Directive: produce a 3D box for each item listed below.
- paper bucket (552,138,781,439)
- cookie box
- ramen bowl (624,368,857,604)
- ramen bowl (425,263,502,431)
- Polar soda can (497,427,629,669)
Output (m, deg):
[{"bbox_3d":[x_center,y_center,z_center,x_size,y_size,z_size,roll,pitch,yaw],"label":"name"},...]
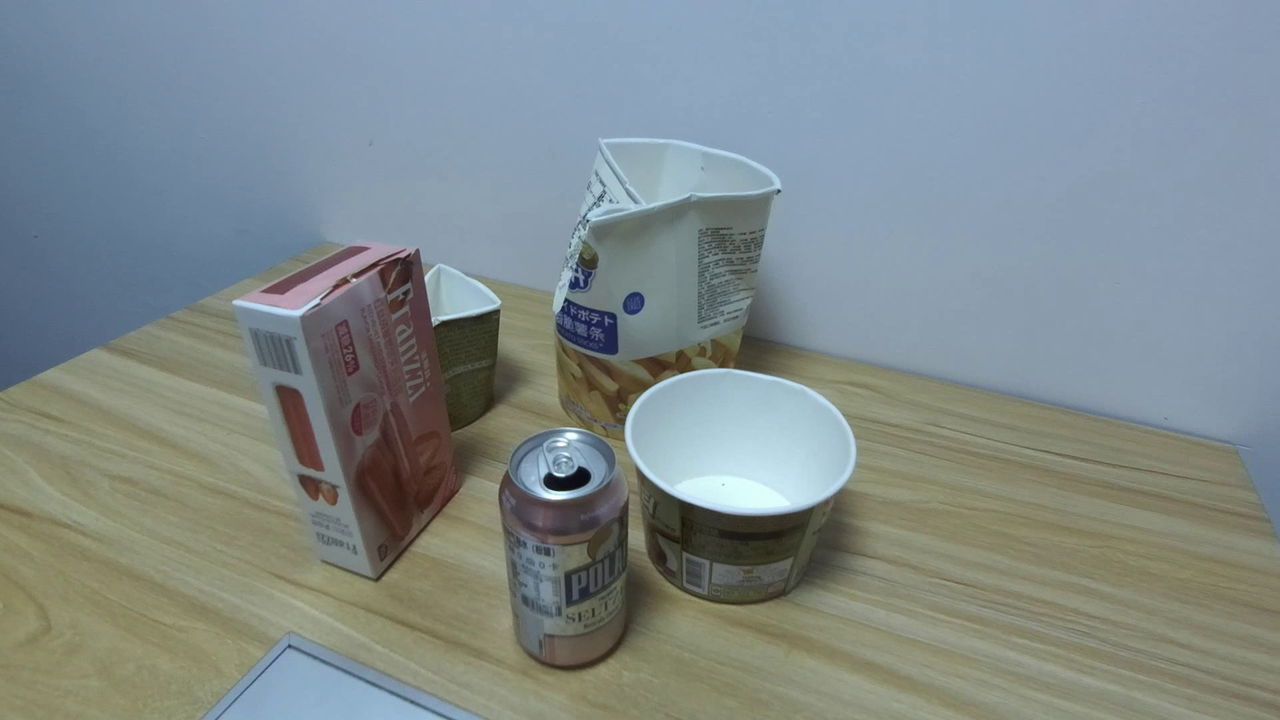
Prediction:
[{"bbox_3d":[0.001,-0.061,0.574,0.170,0.202,0.162,-13,34,-25],"label":"paper bucket"},{"bbox_3d":[-0.165,0.028,0.435,0.048,0.188,0.105,10,32,18],"label":"cookie box"},{"bbox_3d":[0.060,0.082,0.448,0.140,0.095,0.140,0,32,0],"label":"ramen bowl"},{"bbox_3d":[-0.184,-0.004,0.581,0.111,0.093,0.129,28,42,36],"label":"ramen bowl"},{"bbox_3d":[-0.039,0.102,0.383,0.067,0.125,0.067,1,31,-1],"label":"Polar soda can"}]
